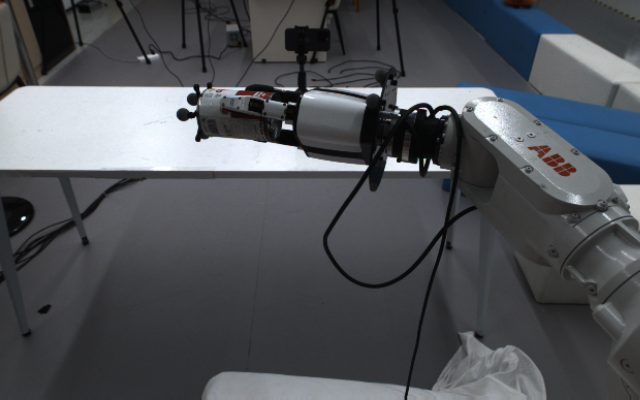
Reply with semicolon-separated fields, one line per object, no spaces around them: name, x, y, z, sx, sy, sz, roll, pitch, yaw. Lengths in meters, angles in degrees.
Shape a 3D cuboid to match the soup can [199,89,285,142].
soup can;-0.108;-0.117;0.669;0.101;0.067;0.067;6;35;11
